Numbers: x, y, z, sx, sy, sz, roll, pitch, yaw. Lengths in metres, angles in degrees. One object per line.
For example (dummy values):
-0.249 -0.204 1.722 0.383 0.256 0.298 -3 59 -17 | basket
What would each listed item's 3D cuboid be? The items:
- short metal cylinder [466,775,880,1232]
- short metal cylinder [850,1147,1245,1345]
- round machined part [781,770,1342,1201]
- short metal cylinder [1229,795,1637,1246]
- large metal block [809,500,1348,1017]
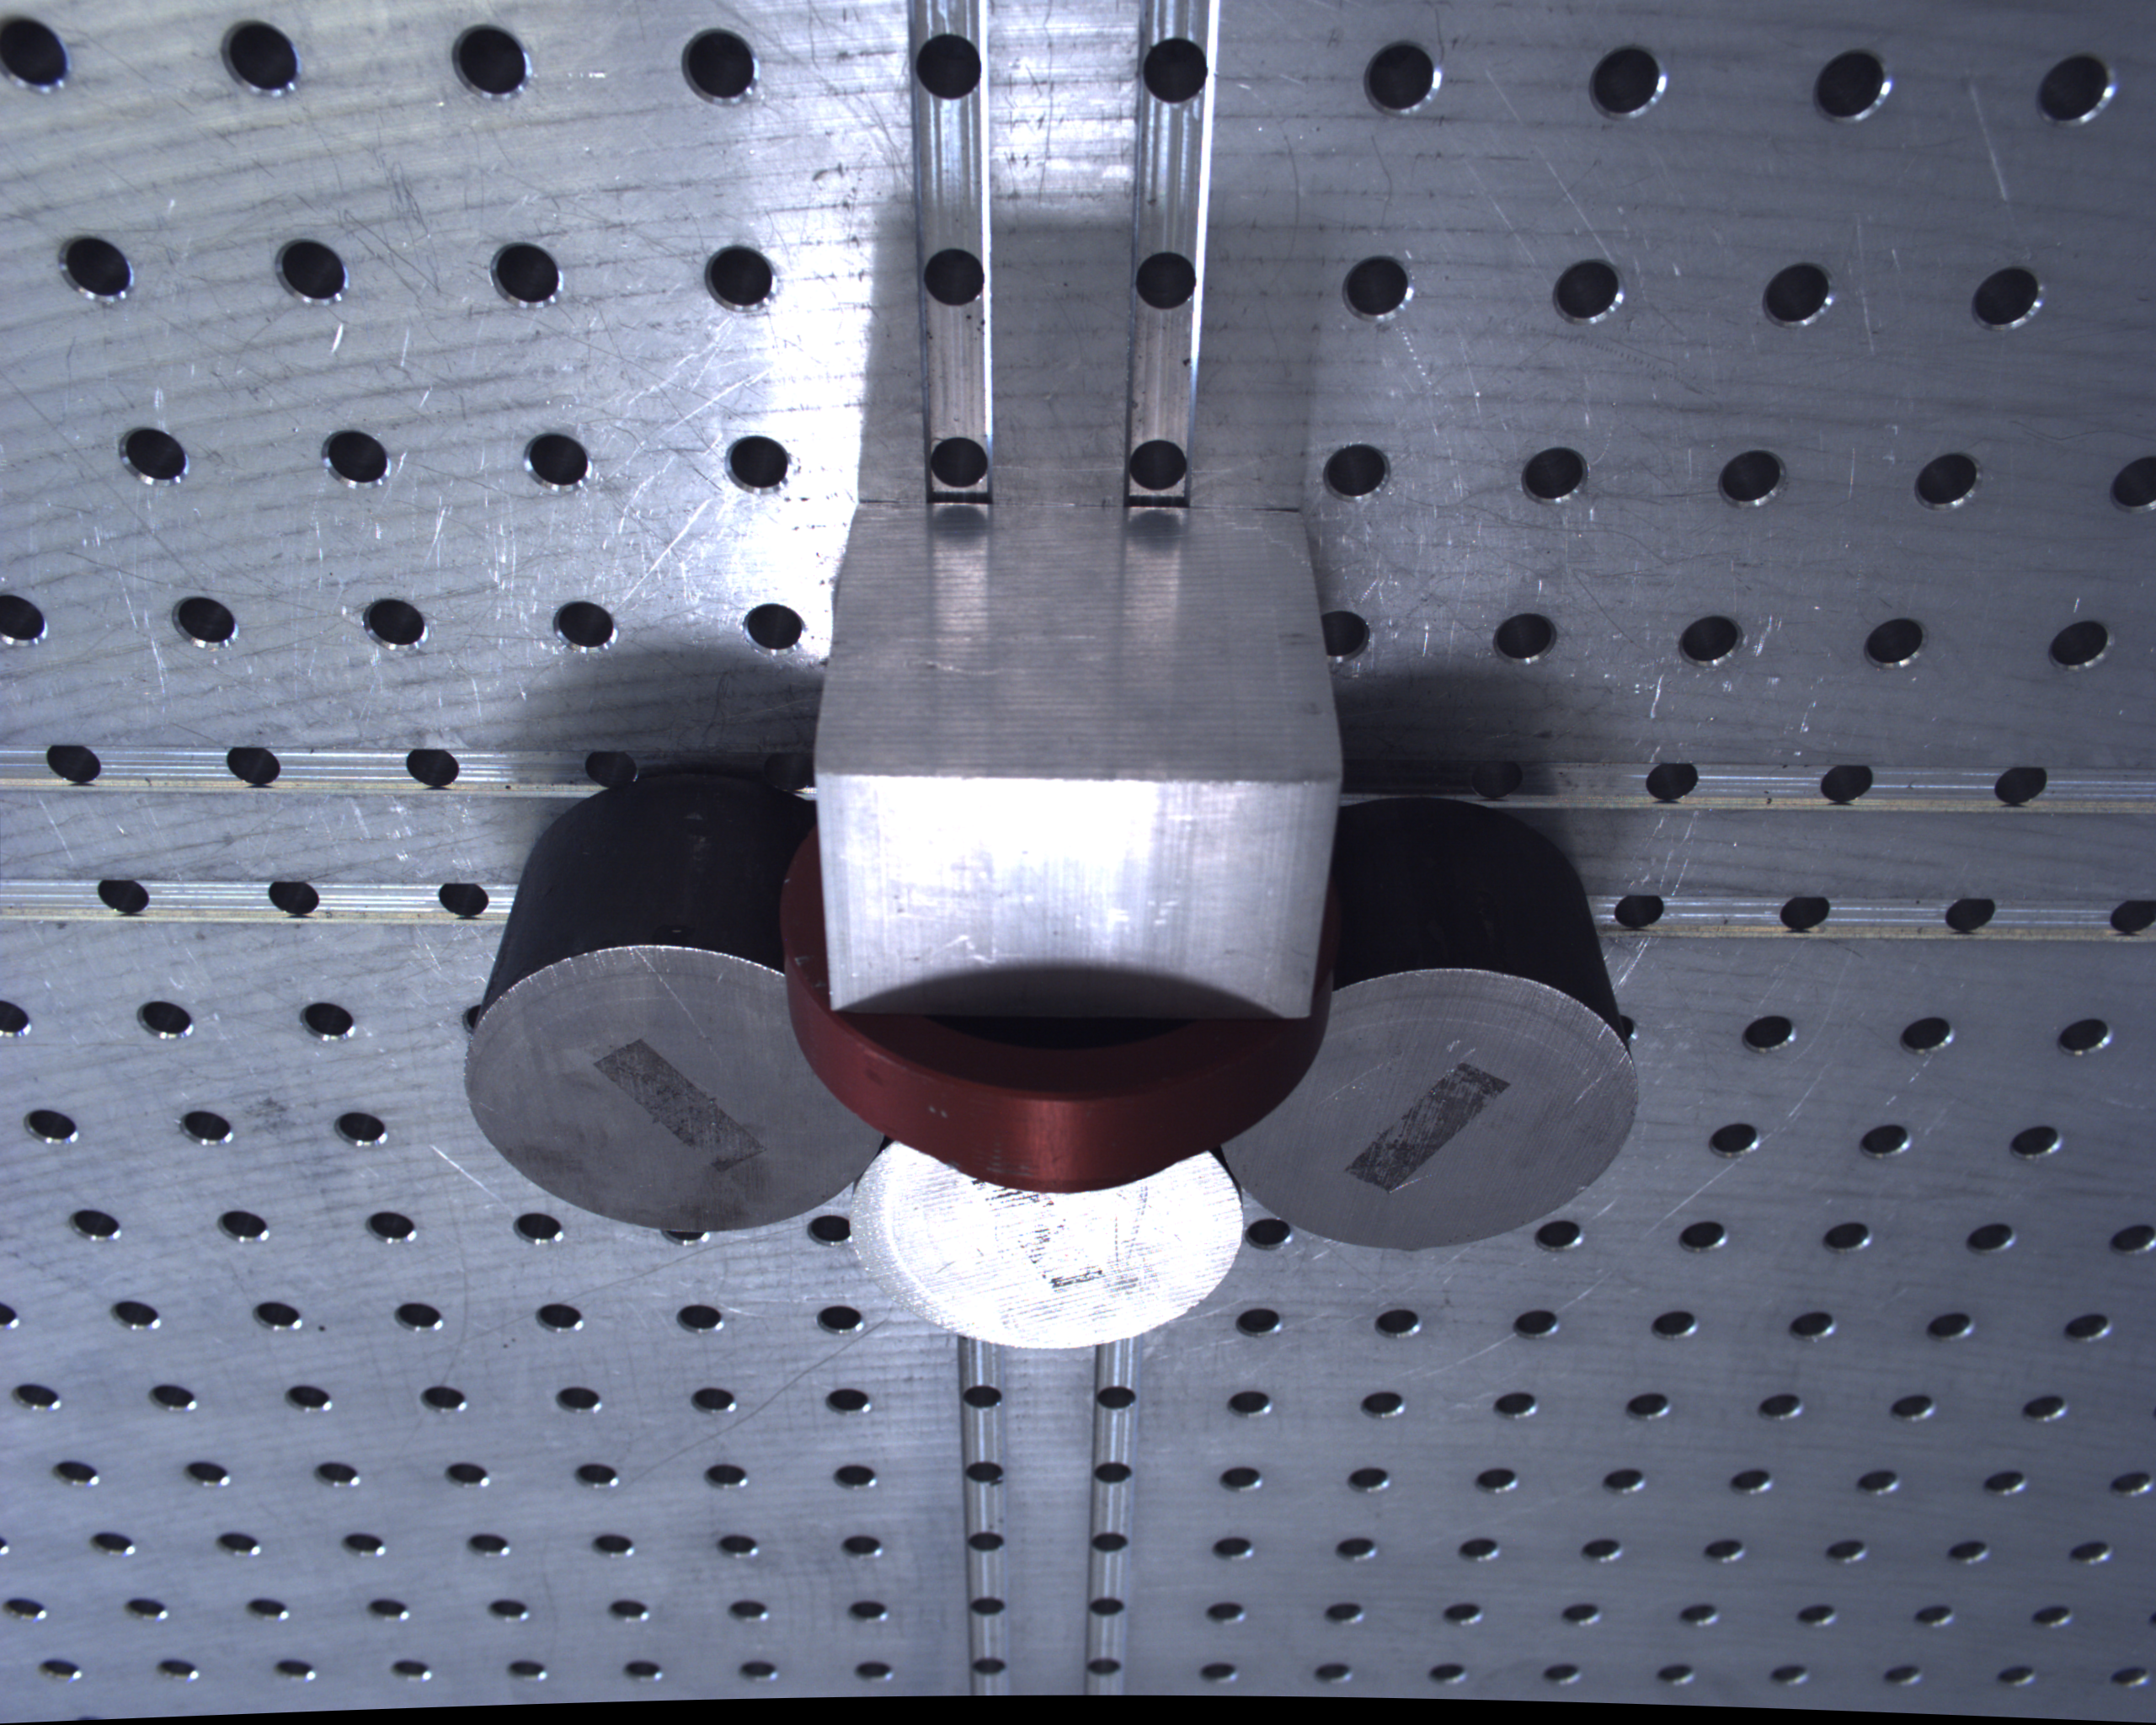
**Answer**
-0.077 0.029 0.420 0.081 0.050 0.079 0 130 0 | short metal cylinder
-0.006 0.058 0.445 0.081 0.050 0.079 0 130 0 | short metal cylinder
-0.003 0.023 0.381 0.099 0.098 0.042 1 130 -2 | round machined part
0.068 0.033 0.424 0.081 0.050 0.079 0 130 0 | short metal cylinder
0.000 -0.020 0.358 0.081 0.080 0.050 1 130 -1 | large metal block
